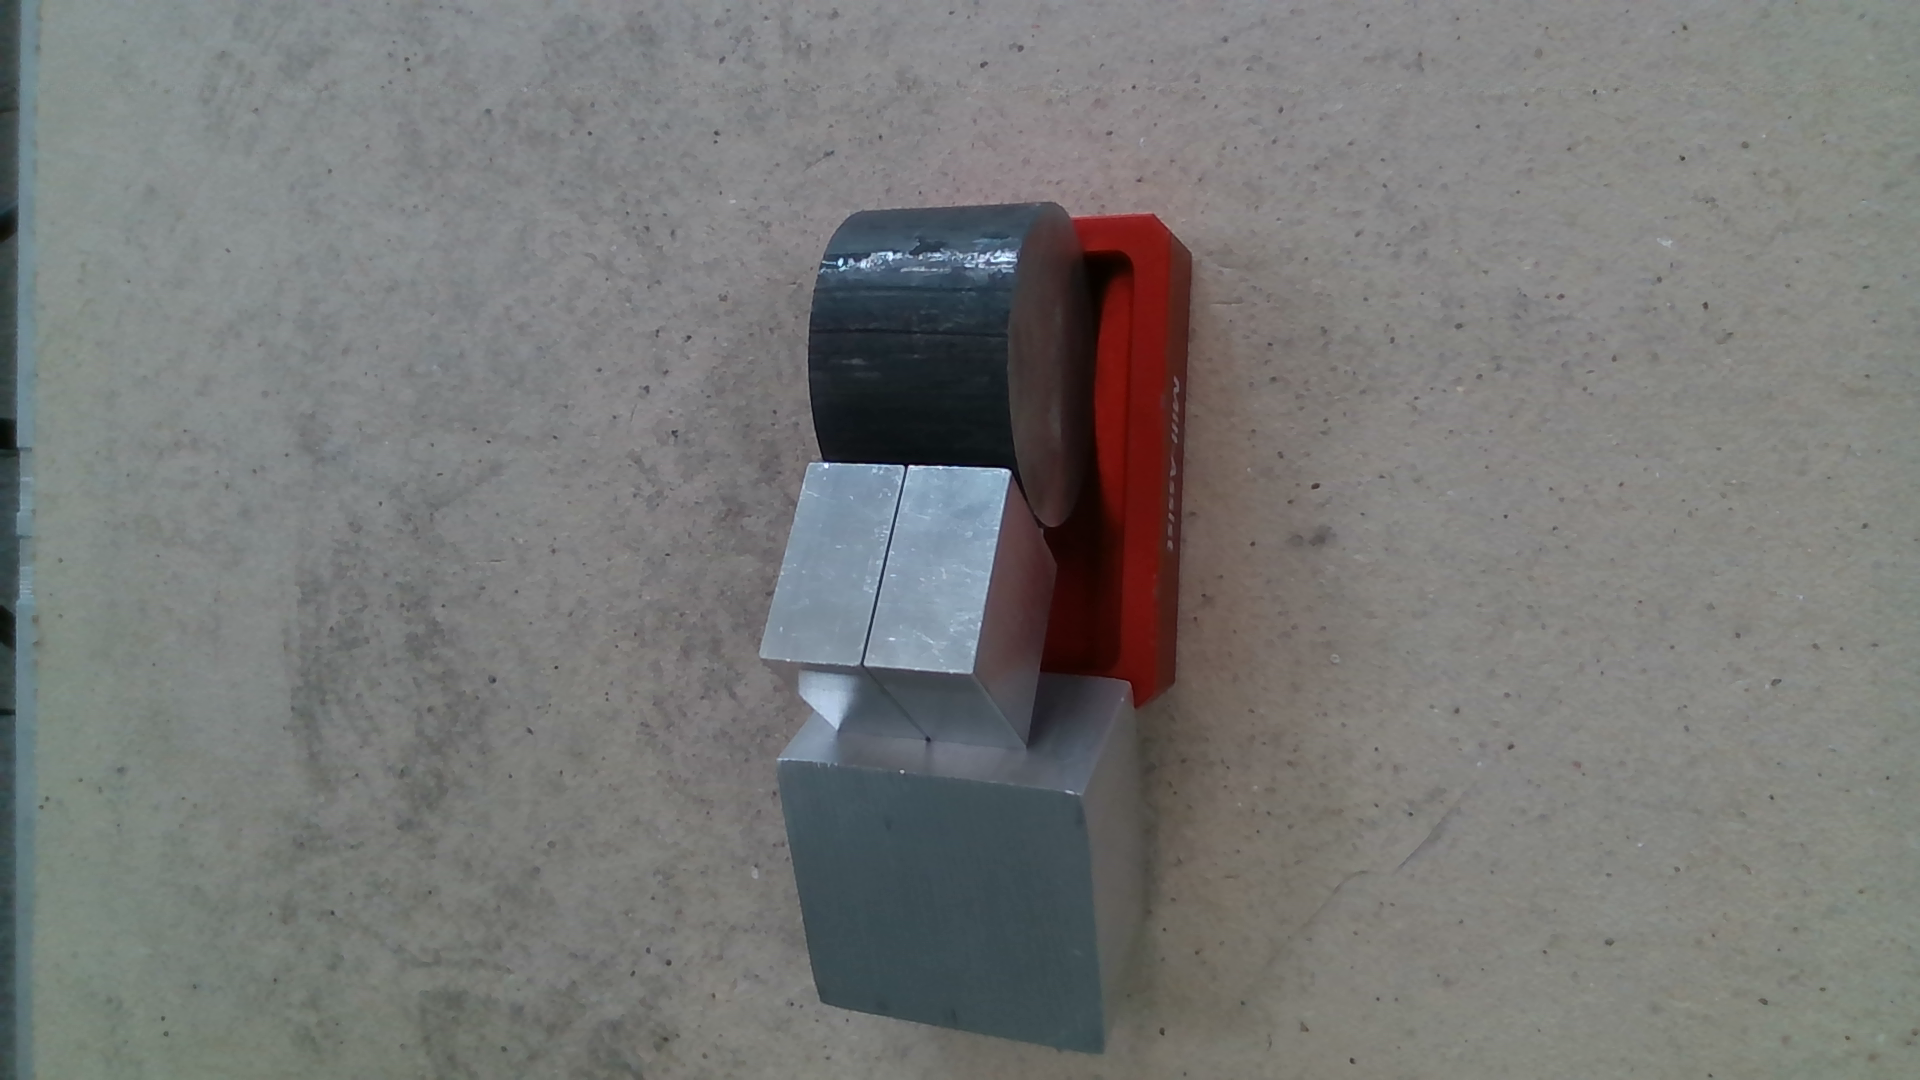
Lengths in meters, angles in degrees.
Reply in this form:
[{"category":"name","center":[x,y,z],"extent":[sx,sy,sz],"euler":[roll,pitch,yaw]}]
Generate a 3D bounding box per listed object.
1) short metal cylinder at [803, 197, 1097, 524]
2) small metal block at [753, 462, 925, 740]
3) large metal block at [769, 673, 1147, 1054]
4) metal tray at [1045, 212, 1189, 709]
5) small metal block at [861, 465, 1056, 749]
[{"category":"short metal cylinder","center":[0.001,-0.044,0.351],"extent":[0.050,0.080,0.080],"euler":[1,91,20]},{"category":"small metal block","center":[-0.023,0.016,0.333],"extent":[0.025,0.050,0.050],"euler":[3,65,19]},{"category":"large metal block","center":[0.003,0.081,0.365],"extent":[0.080,0.050,0.080],"euler":[3,117,20]},{"category":"metal tray","center":[0.015,-0.022,0.386],"extent":[0.090,0.030,0.130],"euler":[2,91,20]},{"category":"small metal block","center":[0.002,0.017,0.325],"extent":[0.025,0.050,0.050],"euler":[3,65,19]}]
